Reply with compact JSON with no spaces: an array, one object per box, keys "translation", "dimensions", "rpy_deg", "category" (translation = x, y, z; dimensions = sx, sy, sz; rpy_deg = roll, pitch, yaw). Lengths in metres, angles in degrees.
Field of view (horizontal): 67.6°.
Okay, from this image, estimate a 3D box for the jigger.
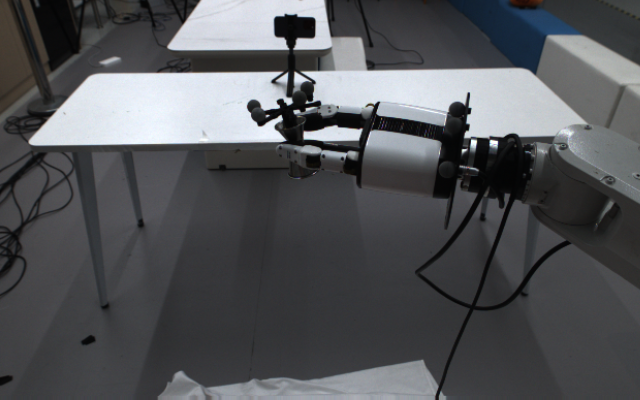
[{"translation":[-0.030,-0.066,0.608],"dimensions":[0.043,0.071,0.043],"rpy_deg":[-12,29,7],"category":"jigger"}]
